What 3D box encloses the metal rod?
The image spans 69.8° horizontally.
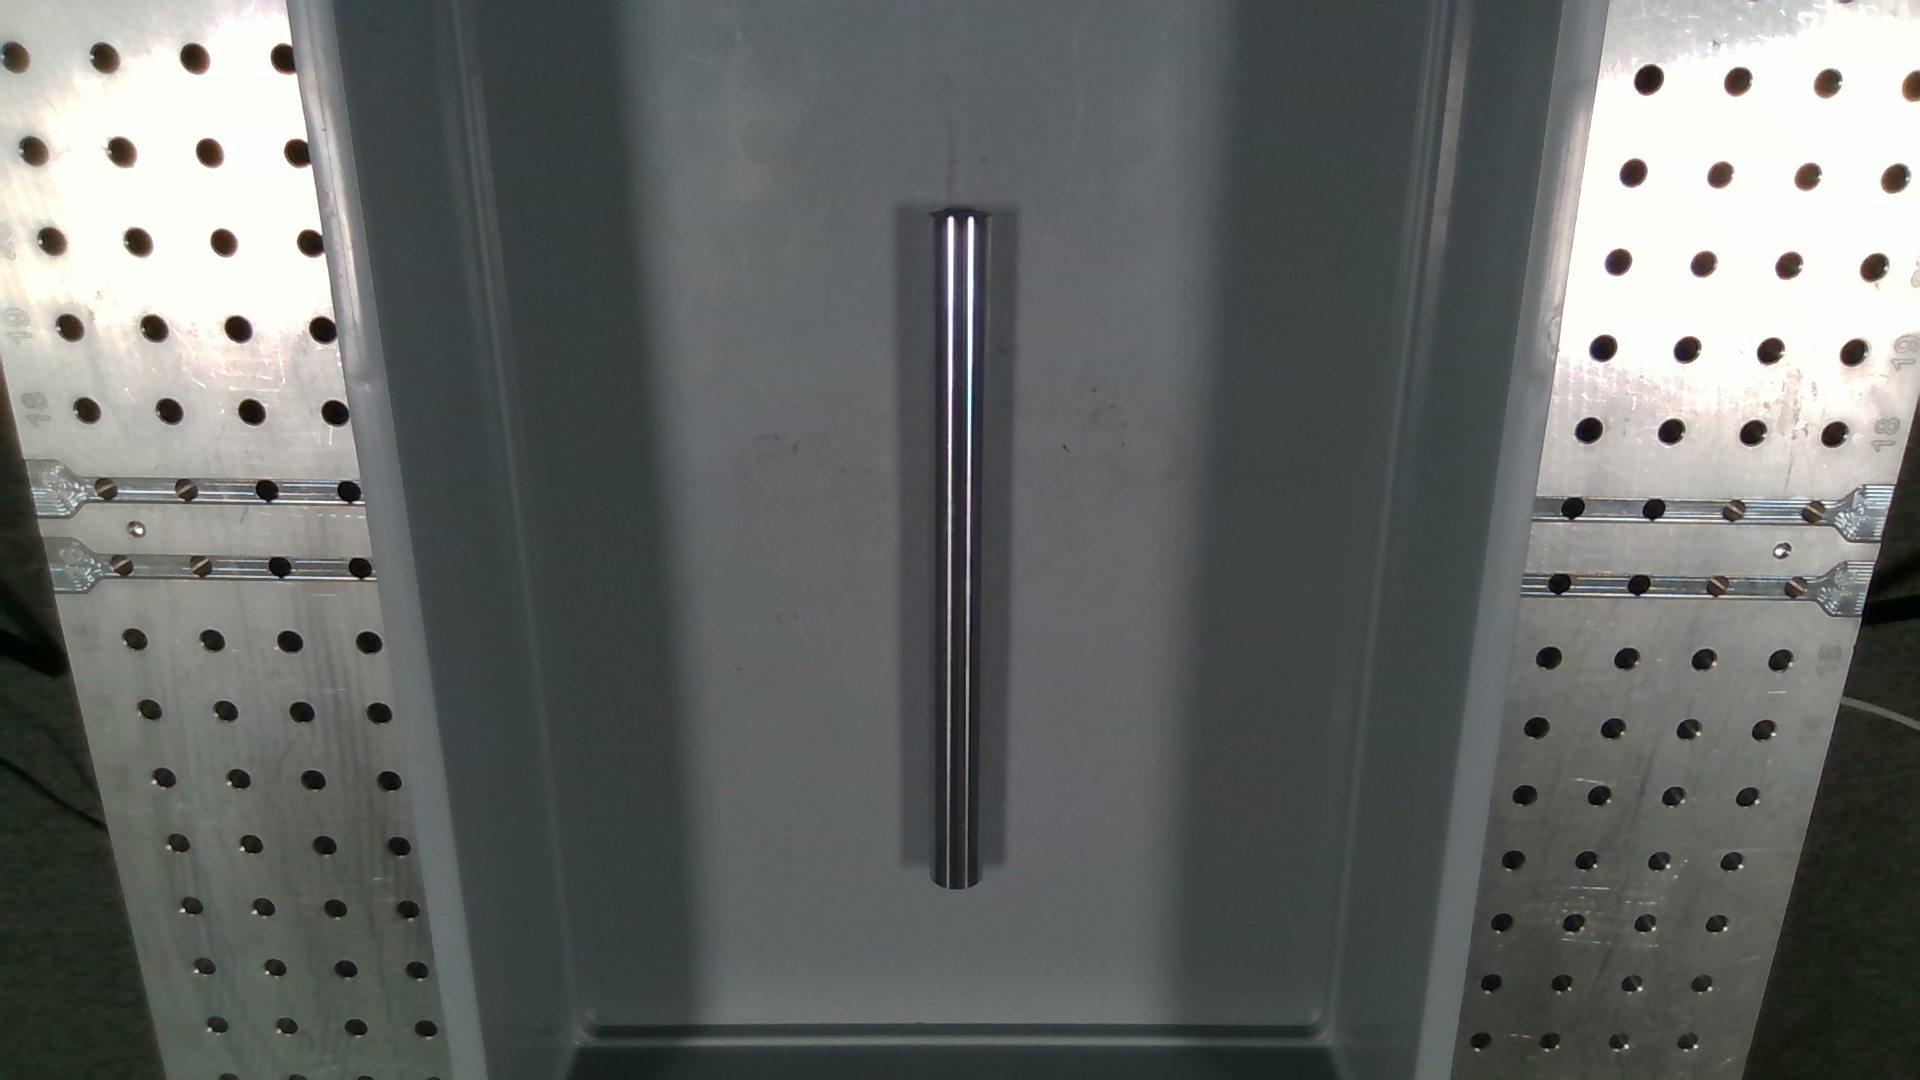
[{"bbox_3d":[-0.001,0.014,0.588,0.025,0.025,0.301,0,110,0],"label":"metal rod"}]
